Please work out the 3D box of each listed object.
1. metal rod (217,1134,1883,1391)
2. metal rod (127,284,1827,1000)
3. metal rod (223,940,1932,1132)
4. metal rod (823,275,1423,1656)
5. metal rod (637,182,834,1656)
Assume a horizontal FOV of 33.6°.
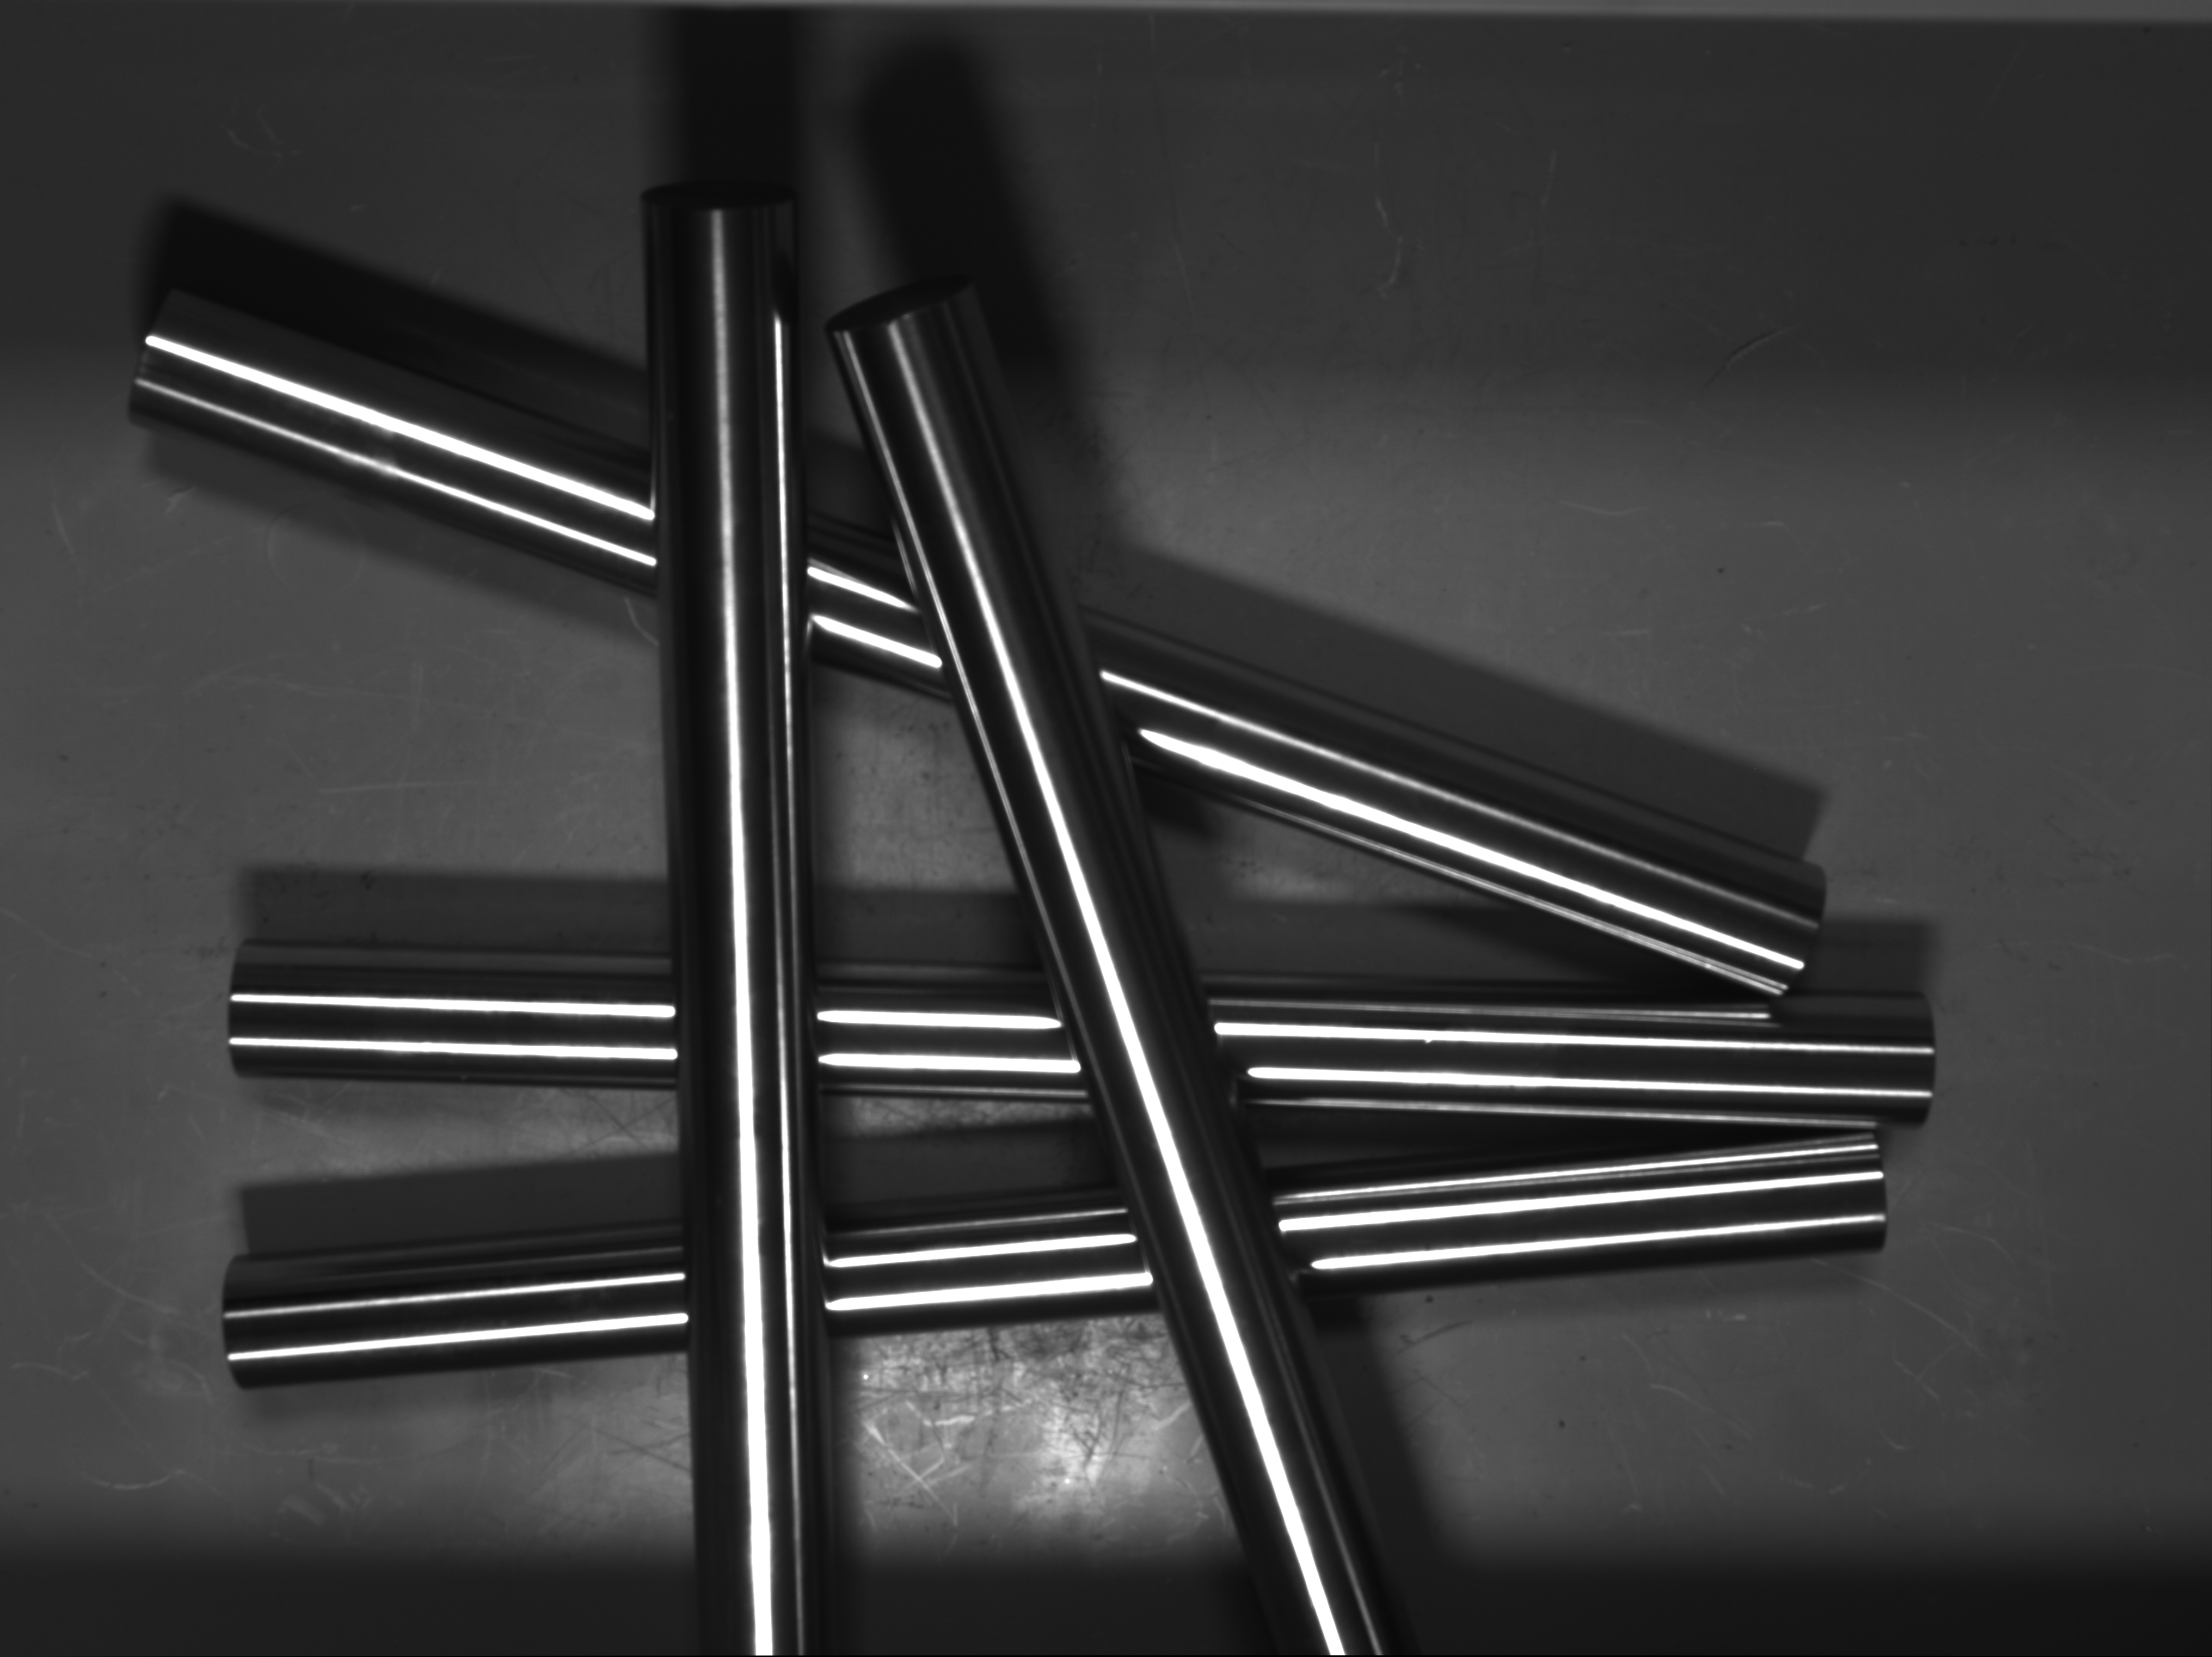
[{"bbox_3d":[-0.010,0.078,0.670,0.300,0.025,0.025,-5,110,1],"label":"metal rod"},{"bbox_3d":[-0.018,-0.030,0.630,0.300,0.025,0.025,19,109,-7],"label":"metal rod"},{"bbox_3d":[-0.004,0.037,0.655,0.300,0.025,0.025,2,110,-1],"label":"metal rod"},{"bbox_3d":[0.011,0.051,0.634,0.025,0.025,0.300,-17,109,5],"label":"metal rod"},{"bbox_3d":[-0.062,0.041,0.629,0.025,0.025,0.300,0,110,-1],"label":"metal rod"}]
